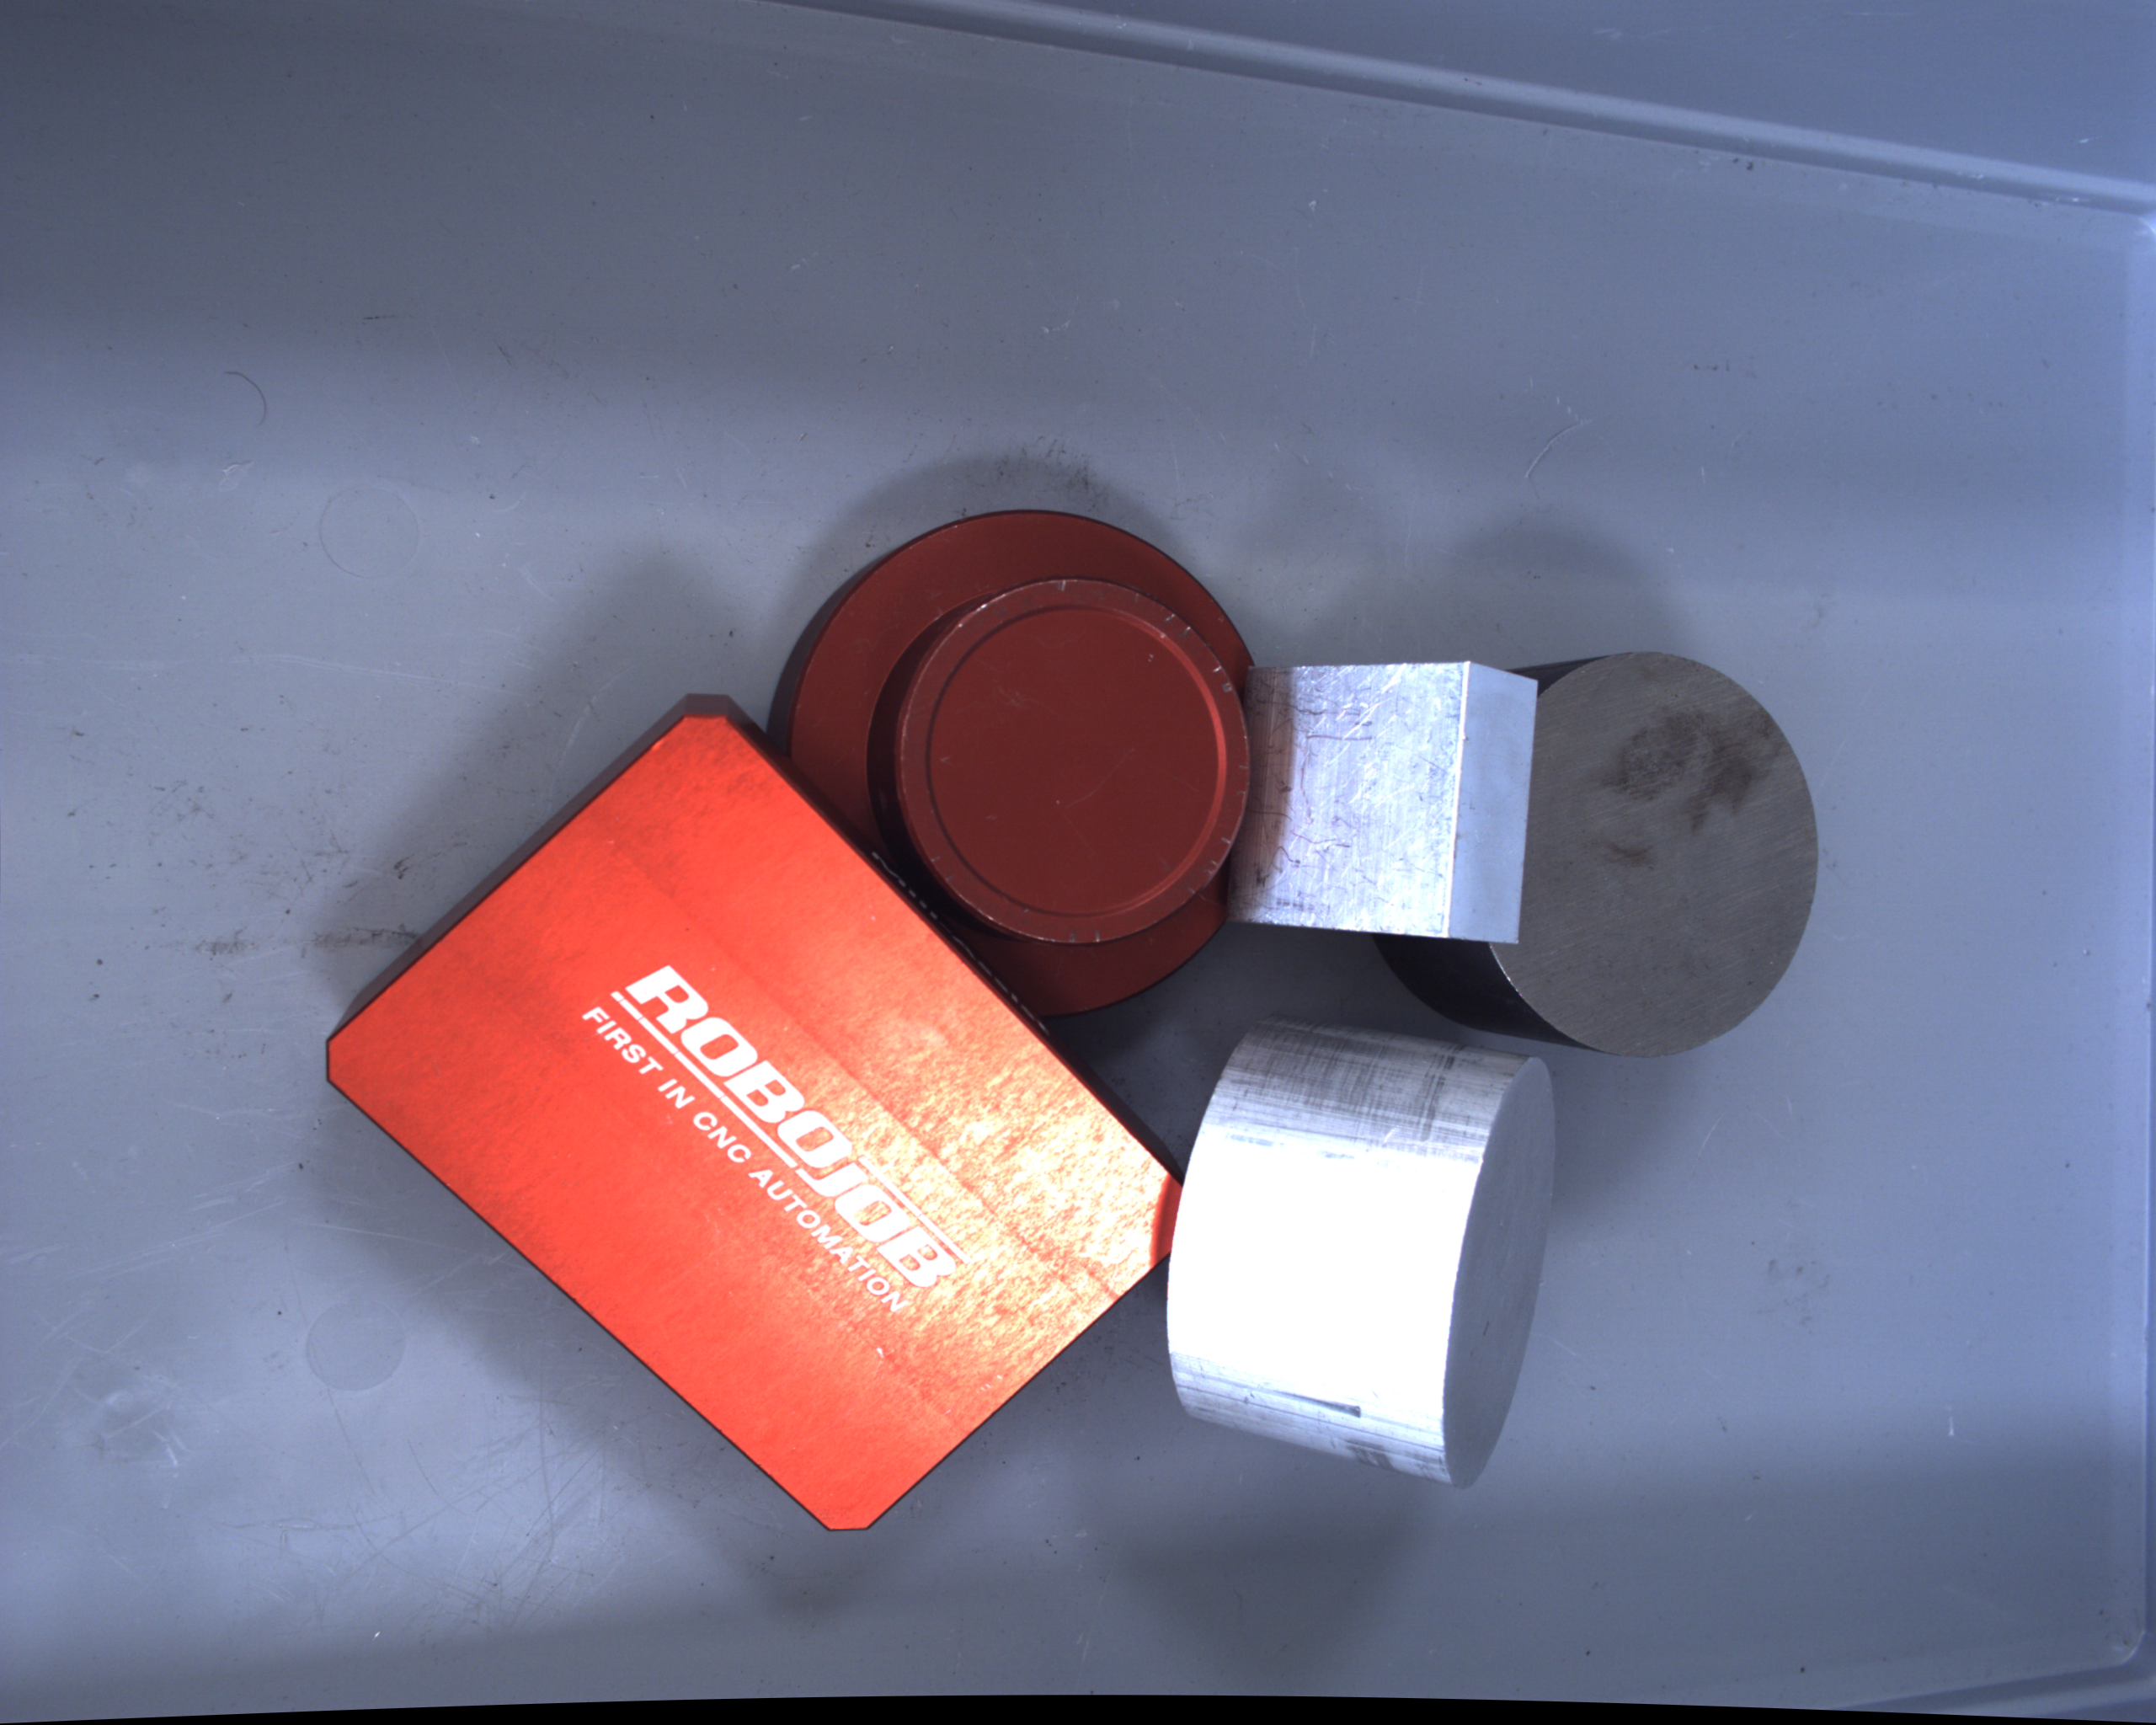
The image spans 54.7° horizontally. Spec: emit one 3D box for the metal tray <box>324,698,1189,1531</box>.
[{"bbox_3d":[-0.054,0.045,0.374,0.090,0.030,0.130,-43,105,1],"label":"metal tray"}]

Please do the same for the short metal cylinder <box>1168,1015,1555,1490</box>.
[{"bbox_3d":[0.056,0.072,0.394,0.050,0.080,0.080,8,87,23],"label":"short metal cylinder"}]

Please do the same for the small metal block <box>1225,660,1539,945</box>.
[{"bbox_3d":[0.057,-0.011,0.397,0.025,0.050,0.050,8,86,-48],"label":"small metal block"}]

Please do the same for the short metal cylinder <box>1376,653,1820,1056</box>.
[{"bbox_3d":[0.105,-0.002,0.434,0.081,0.050,0.079,0,90,-20],"label":"short metal cylinder"}]

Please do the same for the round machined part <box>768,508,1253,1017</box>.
[{"bbox_3d":[-0.007,-0.019,0.397,0.099,0.042,0.097,0,90,-20],"label":"round machined part"}]
